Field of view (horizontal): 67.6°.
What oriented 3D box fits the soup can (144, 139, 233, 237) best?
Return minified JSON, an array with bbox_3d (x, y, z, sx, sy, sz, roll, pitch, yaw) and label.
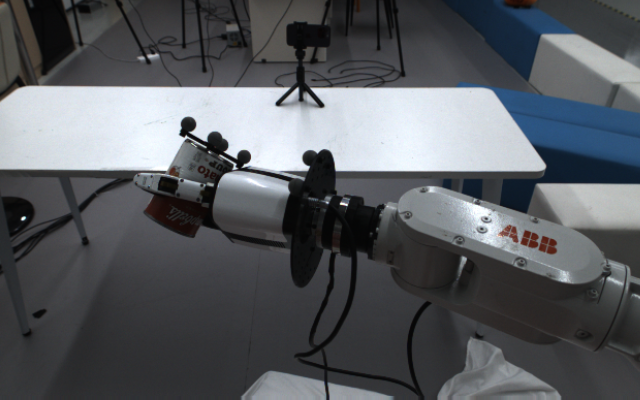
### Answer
[{"bbox_3d":[-0.156,-0.013,0.582,0.067,0.101,0.067,29,-3,1],"label":"soup can"}]
